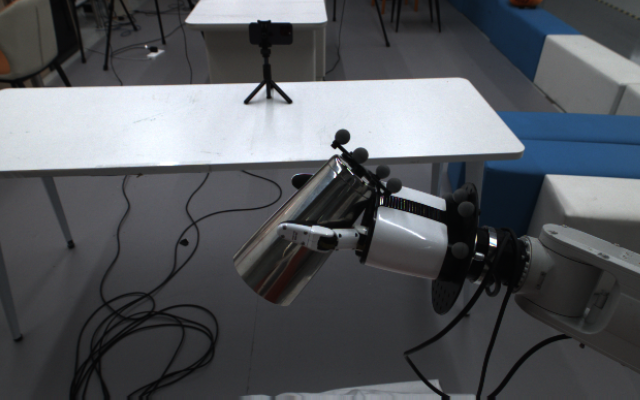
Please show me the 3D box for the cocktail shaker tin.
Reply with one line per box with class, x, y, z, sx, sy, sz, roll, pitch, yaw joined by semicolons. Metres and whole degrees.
cocktail shaker tin;-0.012;0.028;0.570;0.093;0.170;0.093;41;12;-11
